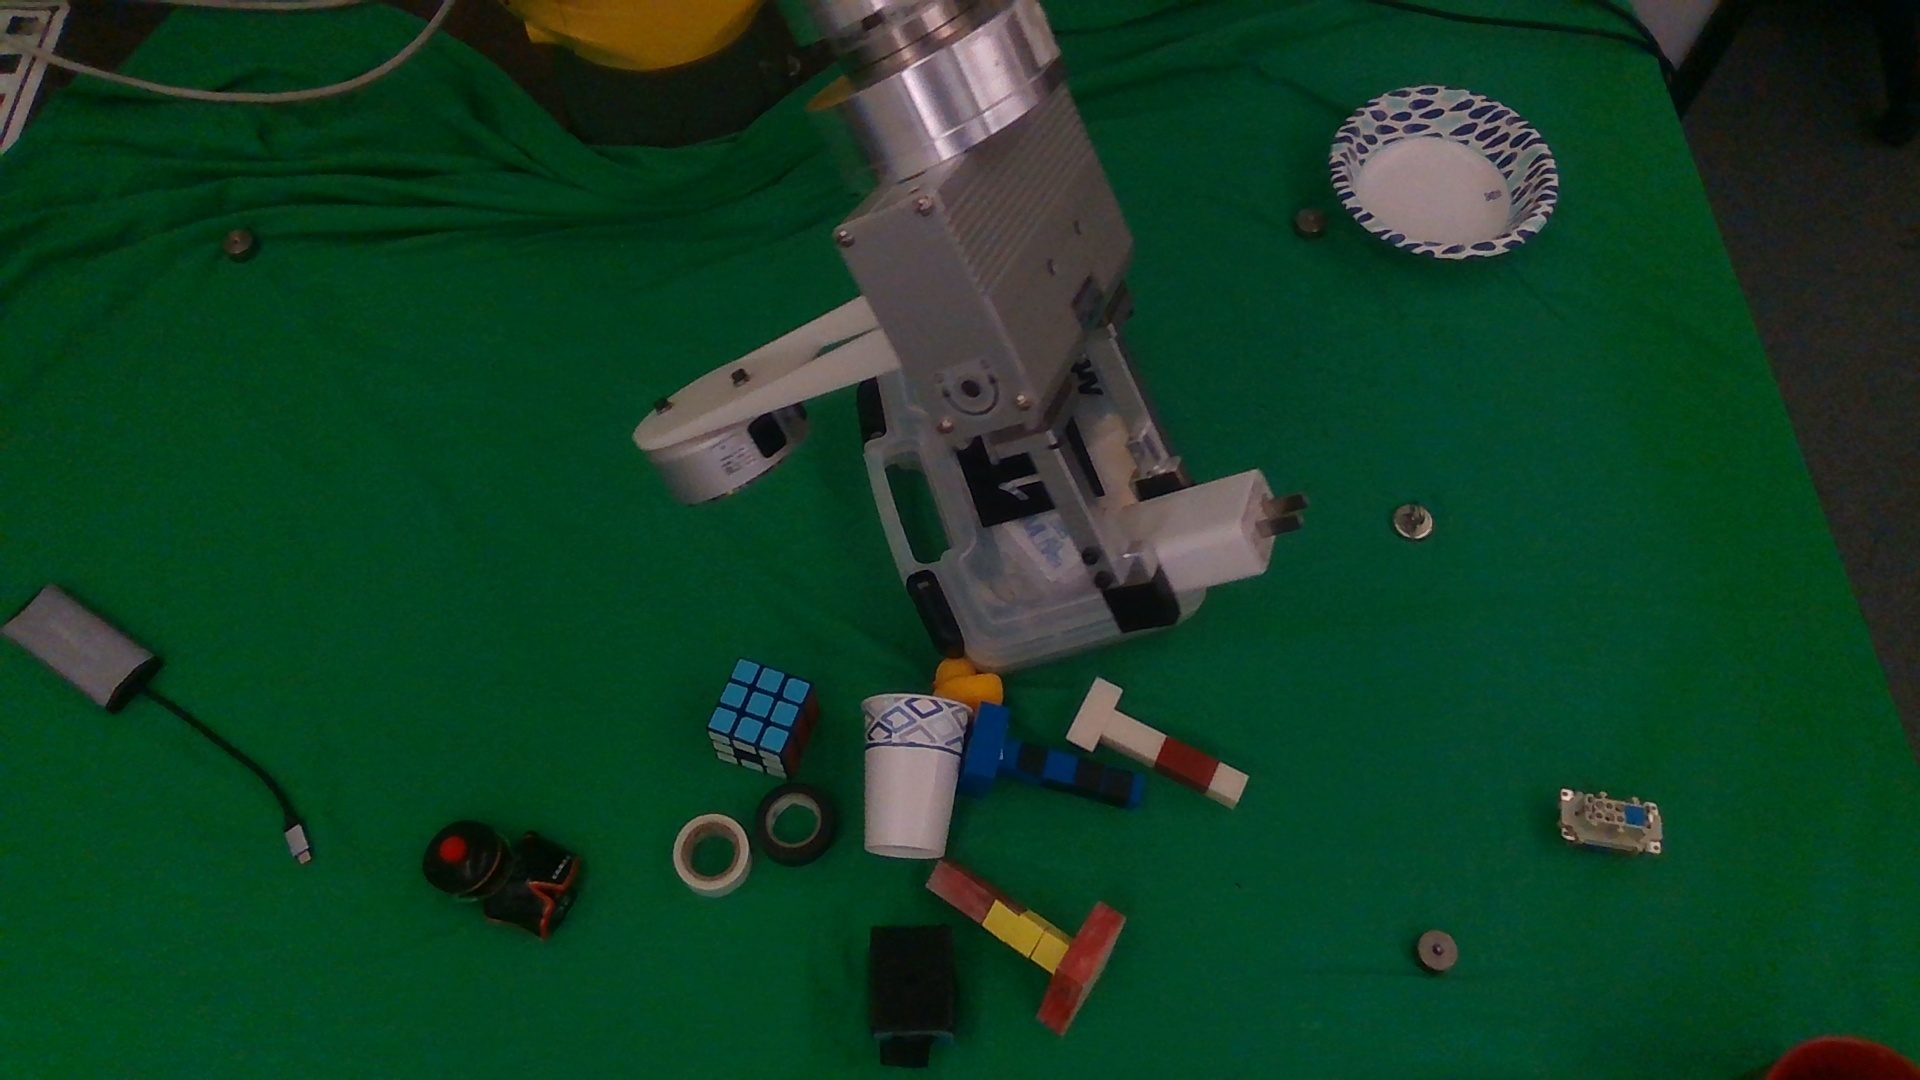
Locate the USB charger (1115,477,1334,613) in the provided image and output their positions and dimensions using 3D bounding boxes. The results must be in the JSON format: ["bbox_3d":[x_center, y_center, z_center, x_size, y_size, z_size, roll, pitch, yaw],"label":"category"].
[{"bbox_3d":[0.091,0.000,0.480,0.076,0.029,0.044,-15,27,29],"label":"USB charger"}]

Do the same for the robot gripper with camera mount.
[{"bbox_3d":[-0.030,-0.028,0.493,0.194,0.158,0.119,-13,28,29],"label":"robot gripper with camera mount"}]
